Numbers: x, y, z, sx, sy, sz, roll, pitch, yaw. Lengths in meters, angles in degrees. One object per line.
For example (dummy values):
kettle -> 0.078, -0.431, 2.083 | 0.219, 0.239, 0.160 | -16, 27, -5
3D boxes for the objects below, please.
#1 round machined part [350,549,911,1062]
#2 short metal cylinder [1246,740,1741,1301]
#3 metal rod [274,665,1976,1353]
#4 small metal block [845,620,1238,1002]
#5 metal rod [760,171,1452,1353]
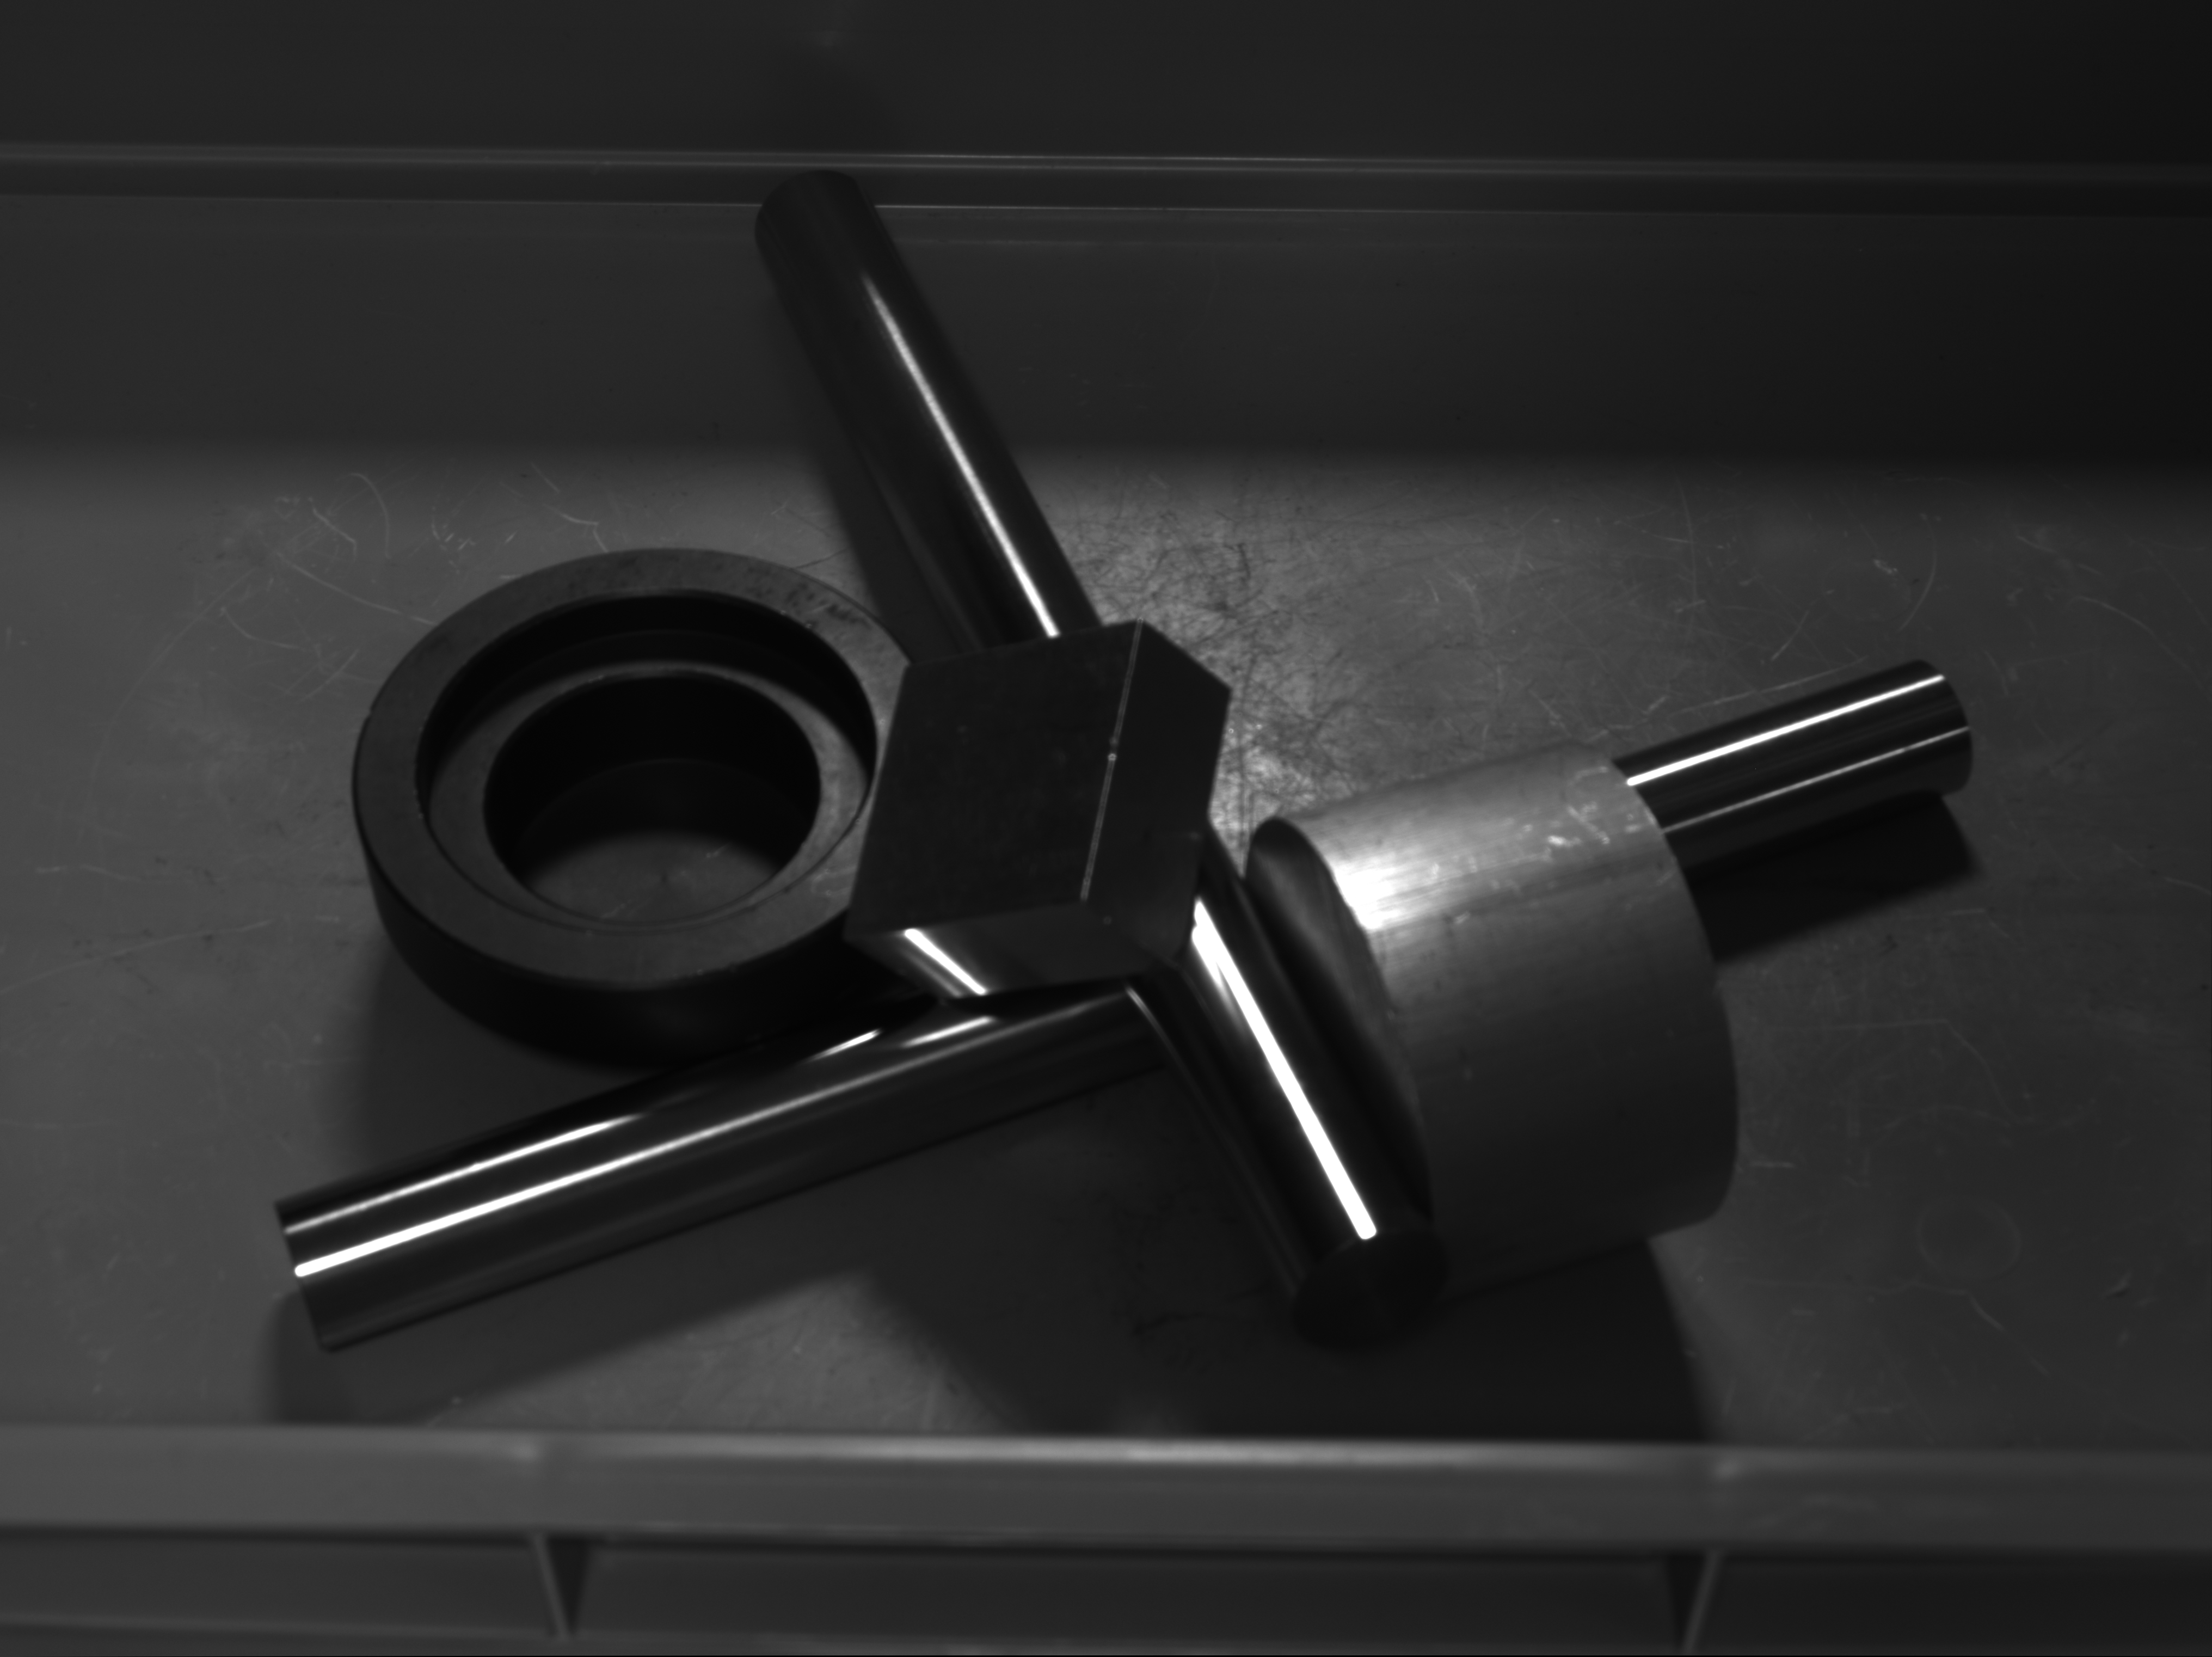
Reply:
round machined part -> -0.077, 0.001, 0.629 | 0.098, 0.042, 0.098 | 0, 50, 0
short metal cylinder -> 0.060, 0.031, 0.579 | 0.050, 0.080, 0.080 | -15, 51, -12
metal rod -> 0.010, 0.027, 0.618 | 0.300, 0.025, 0.025 | -18, 52, -14
small metal block -> -0.010, -0.002, 0.589 | 0.050, 0.025, 0.050 | -8, 59, 38
metal rod -> -0.010, -0.027, 0.641 | 0.025, 0.025, 0.299 | -15, 44, -12
